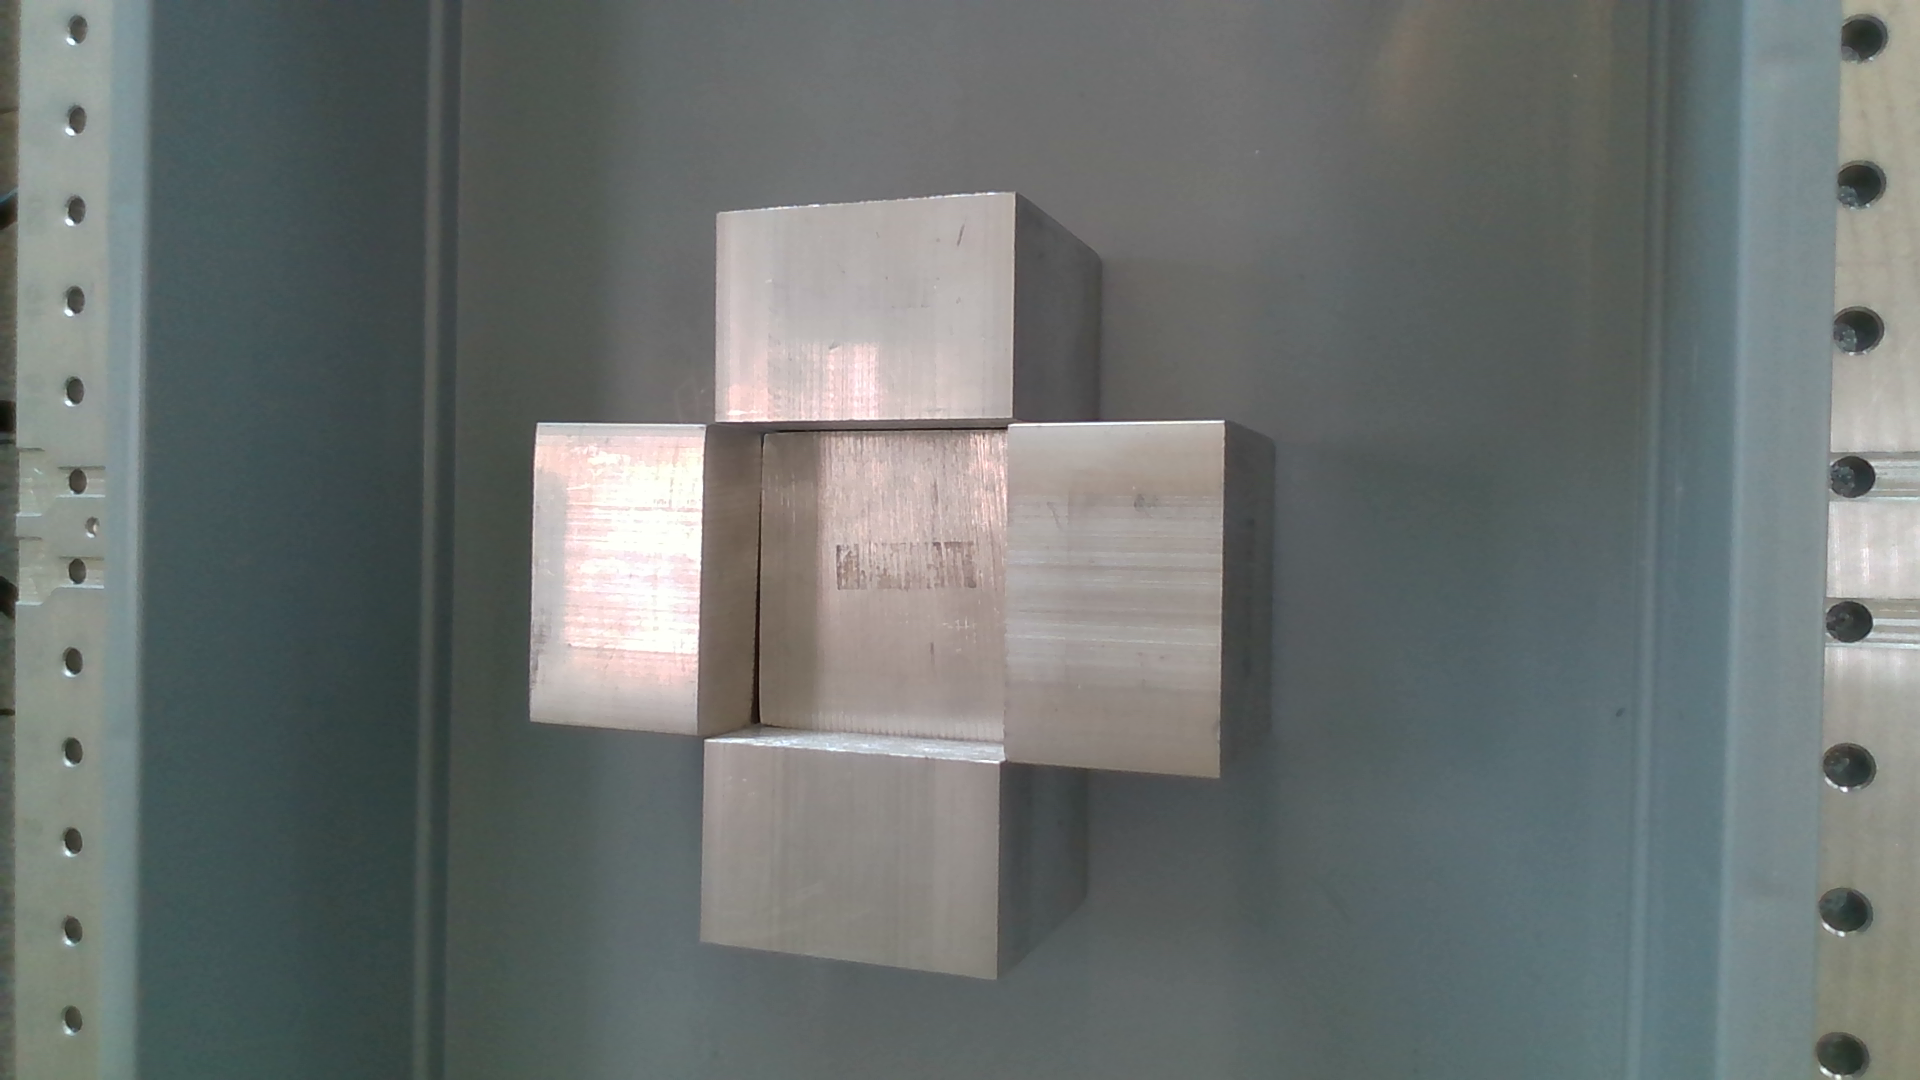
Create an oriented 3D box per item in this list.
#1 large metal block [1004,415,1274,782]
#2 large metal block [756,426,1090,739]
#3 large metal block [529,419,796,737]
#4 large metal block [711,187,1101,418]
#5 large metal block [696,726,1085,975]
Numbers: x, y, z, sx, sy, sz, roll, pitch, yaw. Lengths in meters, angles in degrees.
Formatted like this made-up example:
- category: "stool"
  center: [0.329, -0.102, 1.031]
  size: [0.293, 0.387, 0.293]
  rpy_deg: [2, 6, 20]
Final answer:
- category: "large metal block"
  center: [0.048, 0.012, 0.346]
  size: [0.050, 0.080, 0.080]
  rpy_deg: [1, 90, 20]
- category: "large metal block"
  center: [-0.009, 0.011, 0.382]
  size: [0.080, 0.050, 0.080]
  rpy_deg: [1, 91, 20]
- category: "large metal block"
  center: [-0.075, 0.009, 0.391]
  size: [0.050, 0.080, 0.080]
  rpy_deg: [2, 91, 20]
- category: "large metal block"
  center: [-0.011, -0.057, 0.368]
  size: [0.080, 0.080, 0.050]
  rpy_deg: [1, 90, 20]
- category: "large metal block"
  center: [-0.015, 0.076, 0.370]
  size: [0.080, 0.080, 0.050]
  rpy_deg: [1, 90, 20]
